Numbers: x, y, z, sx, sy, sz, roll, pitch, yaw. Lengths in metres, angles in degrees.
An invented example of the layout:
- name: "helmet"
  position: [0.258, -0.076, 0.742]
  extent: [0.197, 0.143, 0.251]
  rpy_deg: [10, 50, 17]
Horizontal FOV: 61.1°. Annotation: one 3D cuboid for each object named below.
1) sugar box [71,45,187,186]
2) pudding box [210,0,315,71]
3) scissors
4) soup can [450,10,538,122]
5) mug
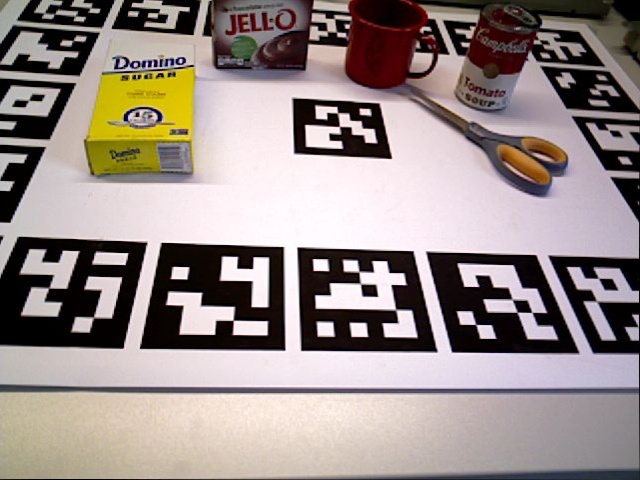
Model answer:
- name: "sugar box"
  position: [-0.183, -0.130, 0.543]
  extent: [0.092, 0.046, 0.174]
  rpy_deg: [-2, 52, -7]
- name: "pudding box"
  position: [-0.068, -0.240, 0.613]
  extent: [0.112, 0.092, 0.038]
  rpy_deg: [-5, 57, -13]
- name: "scissors"
  position: [0.174, -0.103, 0.583]
  extent: [0.086, 0.016, 0.202]
  rpy_deg: [-40, 65, -22]
- name: "soup can"
  position: [0.195, -0.197, 0.620]
  extent: [0.067, 0.104, 0.067]
  rpy_deg: [4, 48, -5]
- name: "mug"
  position: [0.078, -0.230, 0.635]
  extent: [0.091, 0.083, 0.117]
  rpy_deg: [-30, 58, -26]
